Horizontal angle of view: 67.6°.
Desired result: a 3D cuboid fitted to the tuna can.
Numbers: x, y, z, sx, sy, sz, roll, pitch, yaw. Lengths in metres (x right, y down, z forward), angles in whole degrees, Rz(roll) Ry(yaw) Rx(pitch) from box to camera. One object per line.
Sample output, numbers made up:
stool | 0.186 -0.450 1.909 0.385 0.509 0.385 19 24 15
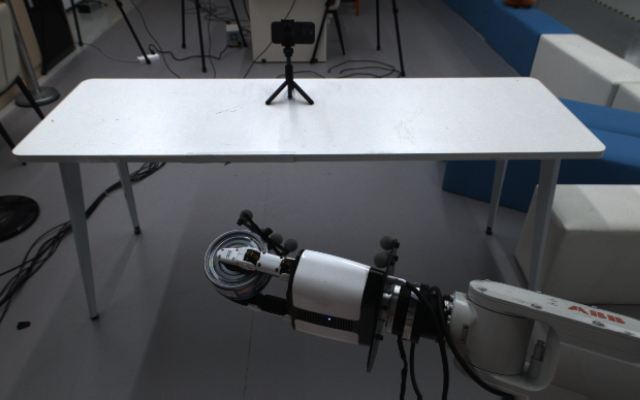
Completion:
tuna can | -0.102 0.081 0.619 0.085 0.034 0.085 -4 57 6
